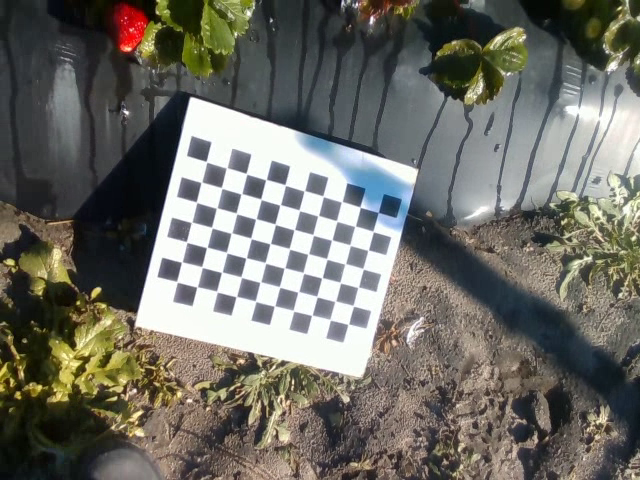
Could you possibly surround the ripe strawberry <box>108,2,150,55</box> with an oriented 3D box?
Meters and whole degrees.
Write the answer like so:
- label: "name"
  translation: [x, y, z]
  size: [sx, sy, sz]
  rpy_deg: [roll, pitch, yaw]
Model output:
- label: "ripe strawberry"
  translation: [-0.169, -0.182, 0.485]
  size: [0.041, 0.053, 0.047]
  rpy_deg: [8, -36, -10]
